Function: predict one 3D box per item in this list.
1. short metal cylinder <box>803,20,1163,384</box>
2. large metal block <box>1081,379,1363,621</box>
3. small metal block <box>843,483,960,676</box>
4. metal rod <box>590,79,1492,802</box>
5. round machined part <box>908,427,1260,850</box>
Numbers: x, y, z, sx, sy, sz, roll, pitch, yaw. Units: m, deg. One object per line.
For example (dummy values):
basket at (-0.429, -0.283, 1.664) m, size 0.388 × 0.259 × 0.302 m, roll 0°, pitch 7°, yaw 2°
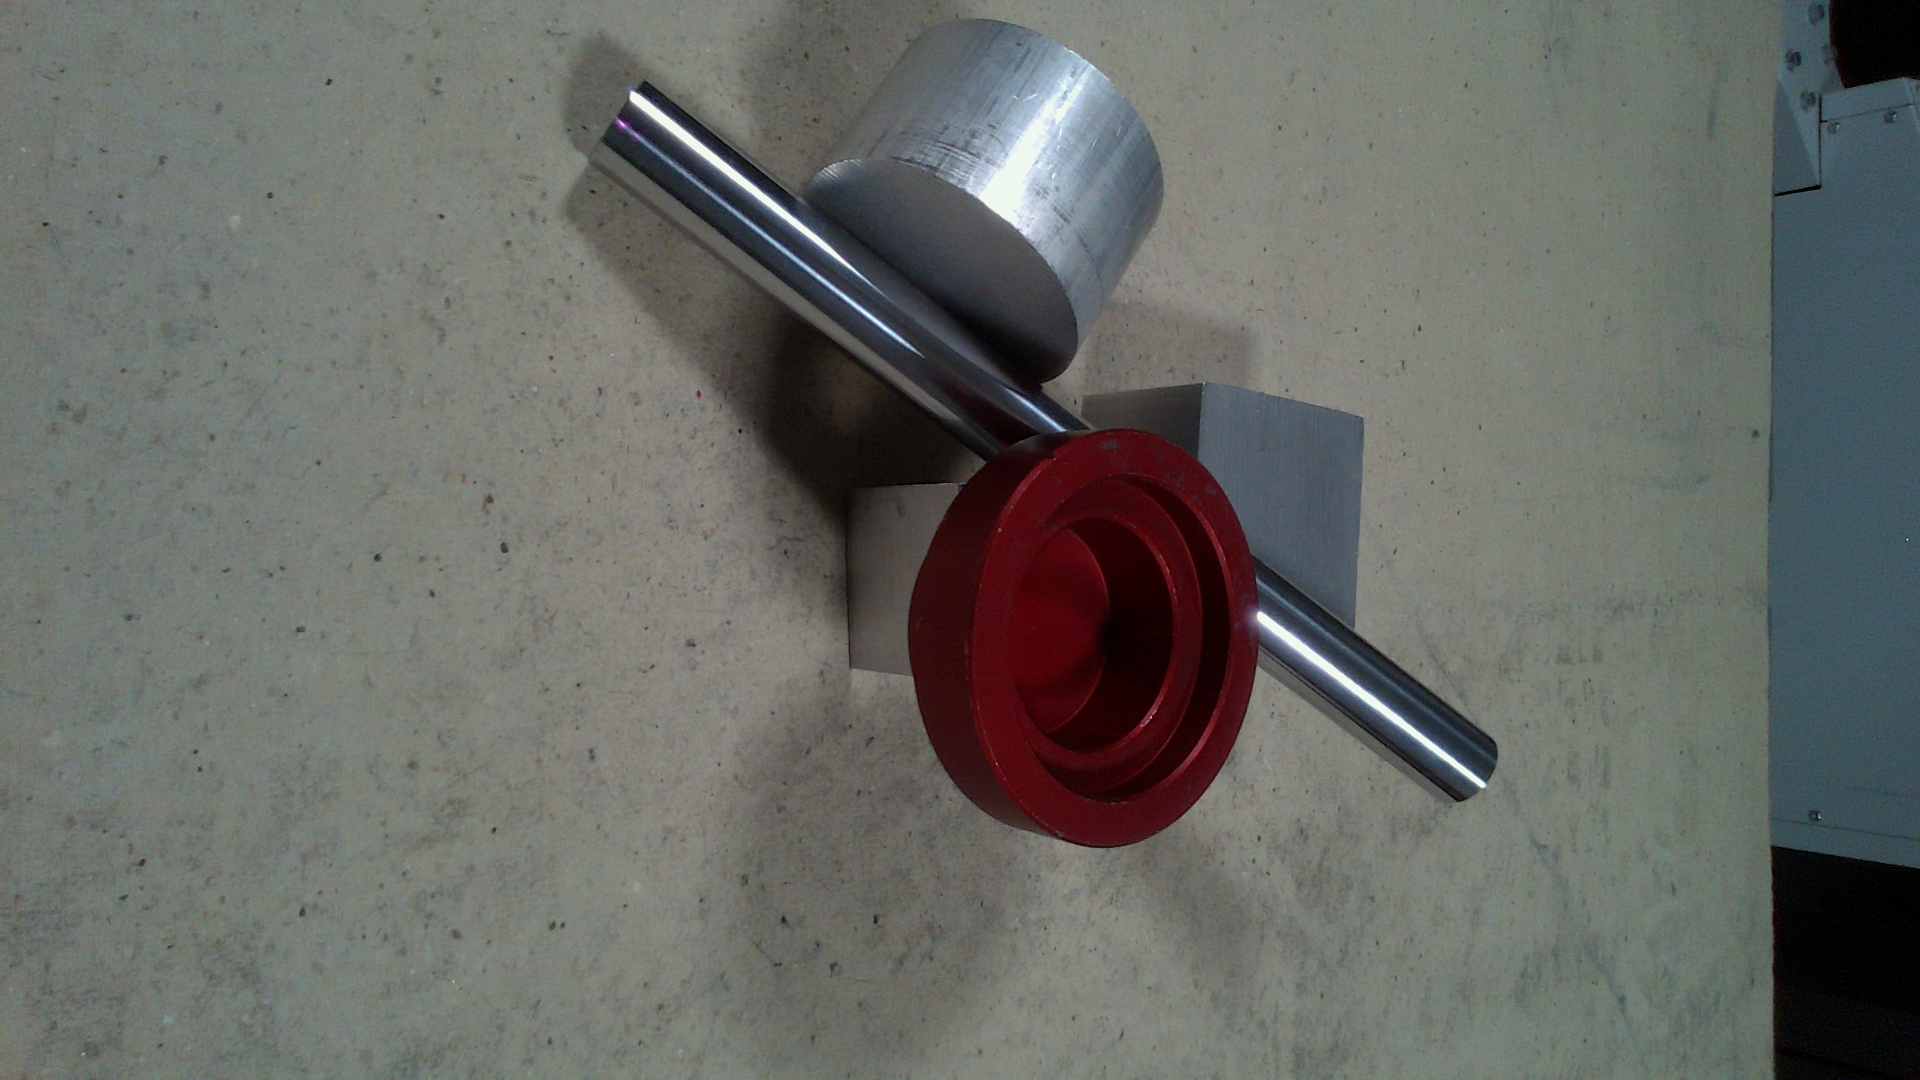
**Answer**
short metal cylinder at (0.006, -0.085, 0.358) m, size 0.080 × 0.080 × 0.050 m, roll 45°, pitch 63°, yaw -31°
large metal block at (0.083, -0.004, 0.442) m, size 0.080 × 0.050 × 0.080 m, roll 6°, pitch 86°, yaw -40°
small metal block at (-0.006, 0.010, 0.369) m, size 0.025 × 0.050 × 0.050 m, roll -3°, pitch 92°, yaw -40°
metal rod at (0.036, -0.015, 0.371) m, size 0.301 × 0.025 × 0.025 m, roll 36°, pitch 67°, yaw -19°
round machined part at (0.026, 0.022, 0.336) m, size 0.098 × 0.042 × 0.098 m, roll -1°, pitch 92°, yaw -40°
